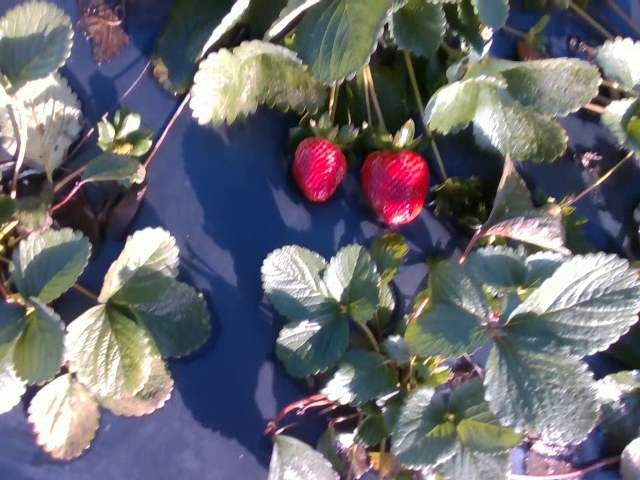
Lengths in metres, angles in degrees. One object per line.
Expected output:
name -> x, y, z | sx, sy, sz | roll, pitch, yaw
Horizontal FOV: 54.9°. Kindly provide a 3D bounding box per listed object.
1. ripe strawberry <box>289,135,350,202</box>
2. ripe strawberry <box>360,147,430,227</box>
ripe strawberry -> -0.003, -0.044, 0.404 | 0.043, 0.052, 0.036 | -16, -26, 20
ripe strawberry -> 0.052, -0.033, 0.408 | 0.052, 0.058, 0.046 | -7, -26, 17
